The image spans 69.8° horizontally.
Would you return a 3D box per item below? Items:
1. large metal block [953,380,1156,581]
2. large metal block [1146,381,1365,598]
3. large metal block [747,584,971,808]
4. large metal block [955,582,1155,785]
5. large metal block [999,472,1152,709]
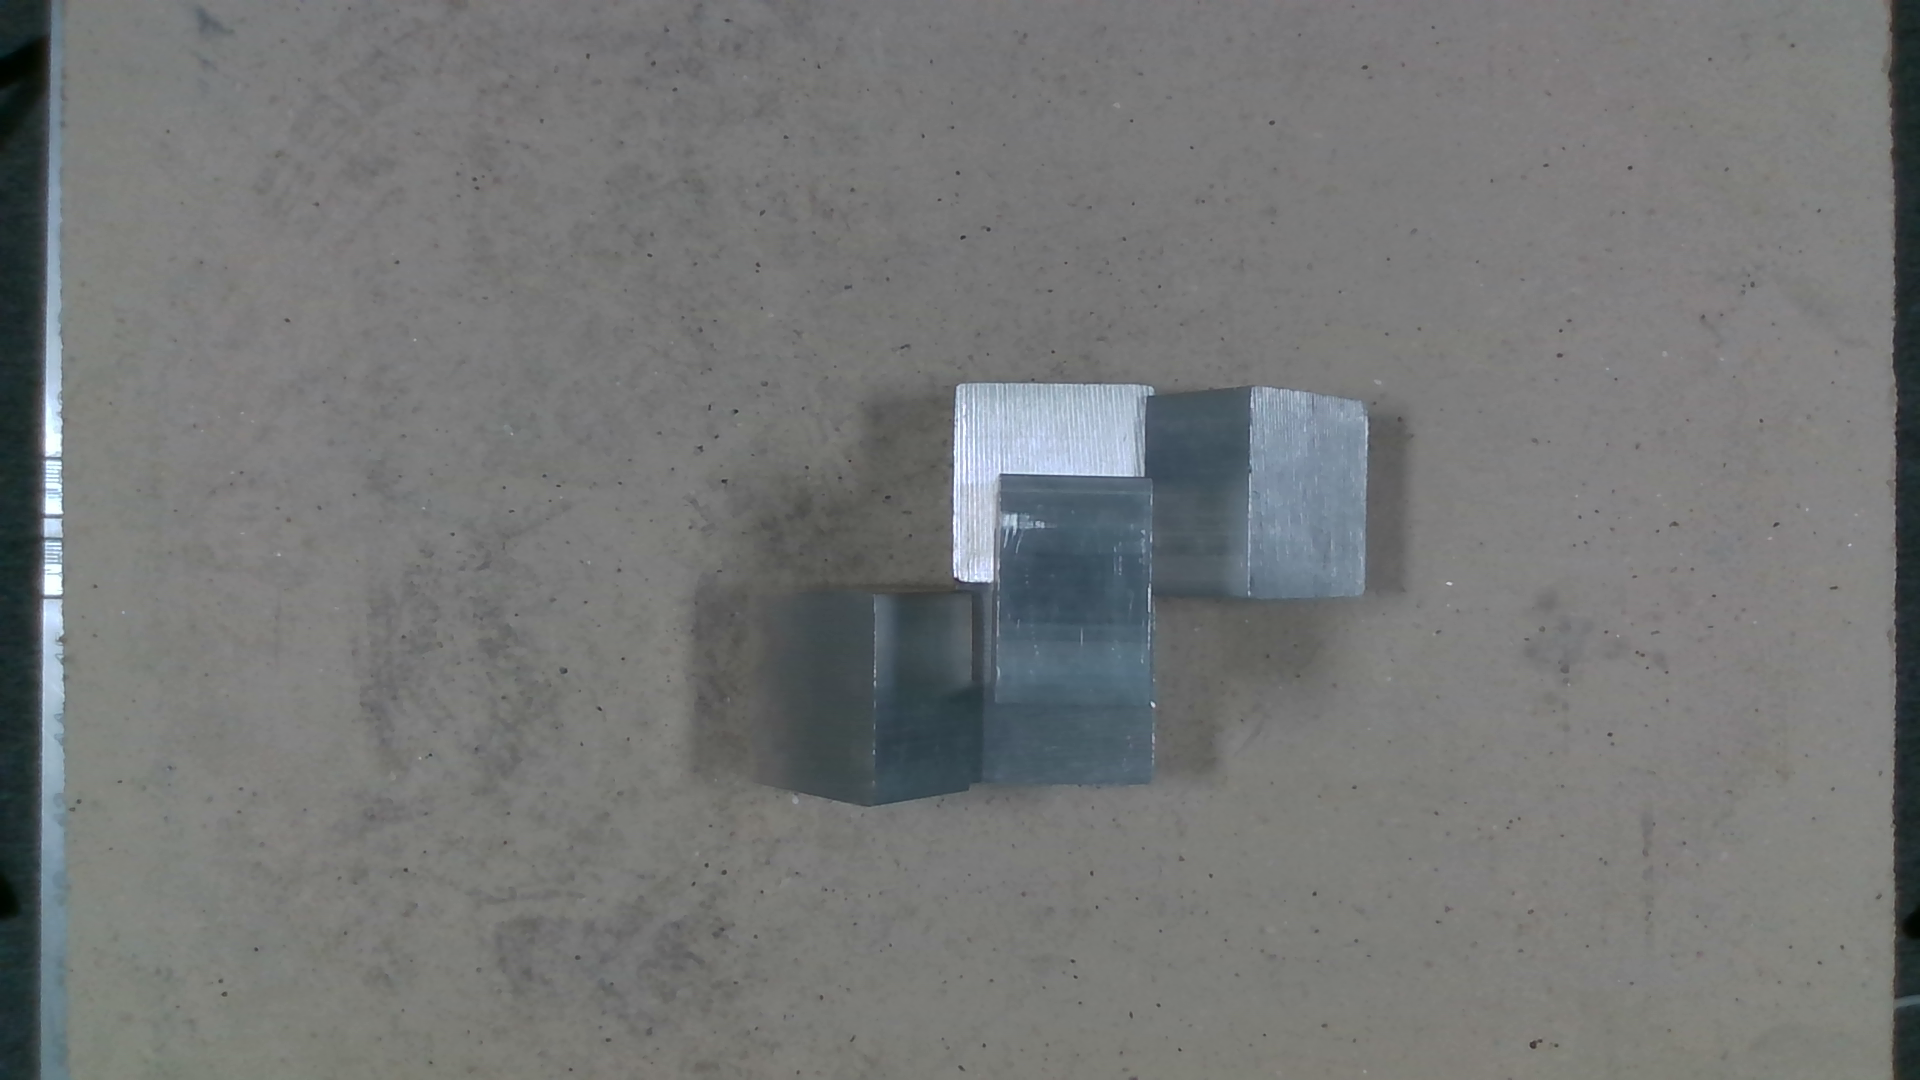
[{"bbox_3d":[0.038,-0.023,0.573,0.080,0.050,0.080,1,90,0],"label":"large metal block"},{"bbox_3d":[0.120,-0.018,0.554,0.080,0.050,0.080,1,90,-44],"label":"large metal block"},{"bbox_3d":[-0.042,0.059,0.554,0.050,0.080,0.080,0,91,-44],"label":"large metal block"},{"bbox_3d":[0.037,0.057,0.573,0.080,0.050,0.080,1,90,0],"label":"large metal block"},{"bbox_3d":[0.040,0.017,0.510,0.050,0.080,0.080,1,90,0],"label":"large metal block"}]
